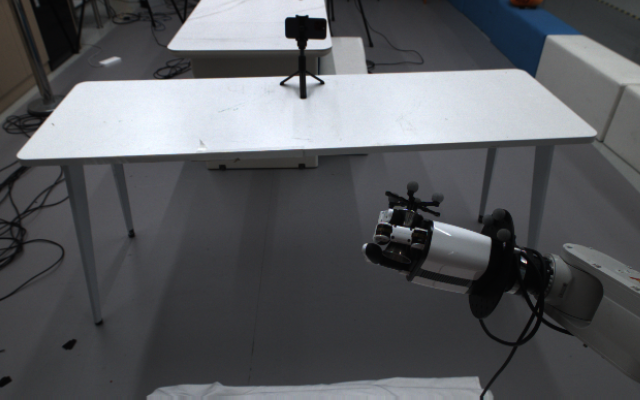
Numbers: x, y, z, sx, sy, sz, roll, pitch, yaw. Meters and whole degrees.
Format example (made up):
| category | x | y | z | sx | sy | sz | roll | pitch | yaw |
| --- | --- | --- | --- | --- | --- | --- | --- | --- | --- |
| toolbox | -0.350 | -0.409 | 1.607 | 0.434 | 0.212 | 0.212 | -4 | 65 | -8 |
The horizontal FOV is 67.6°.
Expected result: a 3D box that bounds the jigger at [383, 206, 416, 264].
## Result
| category | x | y | z | sx | sy | sz | roll | pitch | yaw |
| --- | --- | --- | --- | --- | --- | --- | --- | --- | --- |
| jigger | 0.121 | 0.050 | 0.695 | 0.043 | 0.043 | 0.071 | 15 | 70 | 18 |
